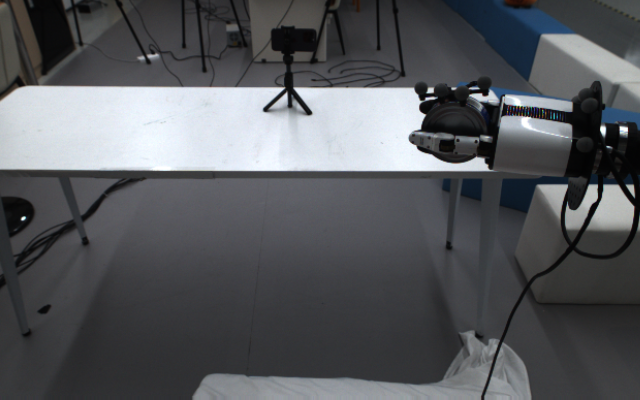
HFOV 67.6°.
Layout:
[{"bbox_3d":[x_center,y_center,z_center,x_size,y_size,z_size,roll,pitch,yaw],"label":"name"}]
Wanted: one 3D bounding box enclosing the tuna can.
[{"bbox_3d":[0.181,-0.096,0.642,0.085,0.085,0.034,17,37,20],"label":"tuna can"}]
